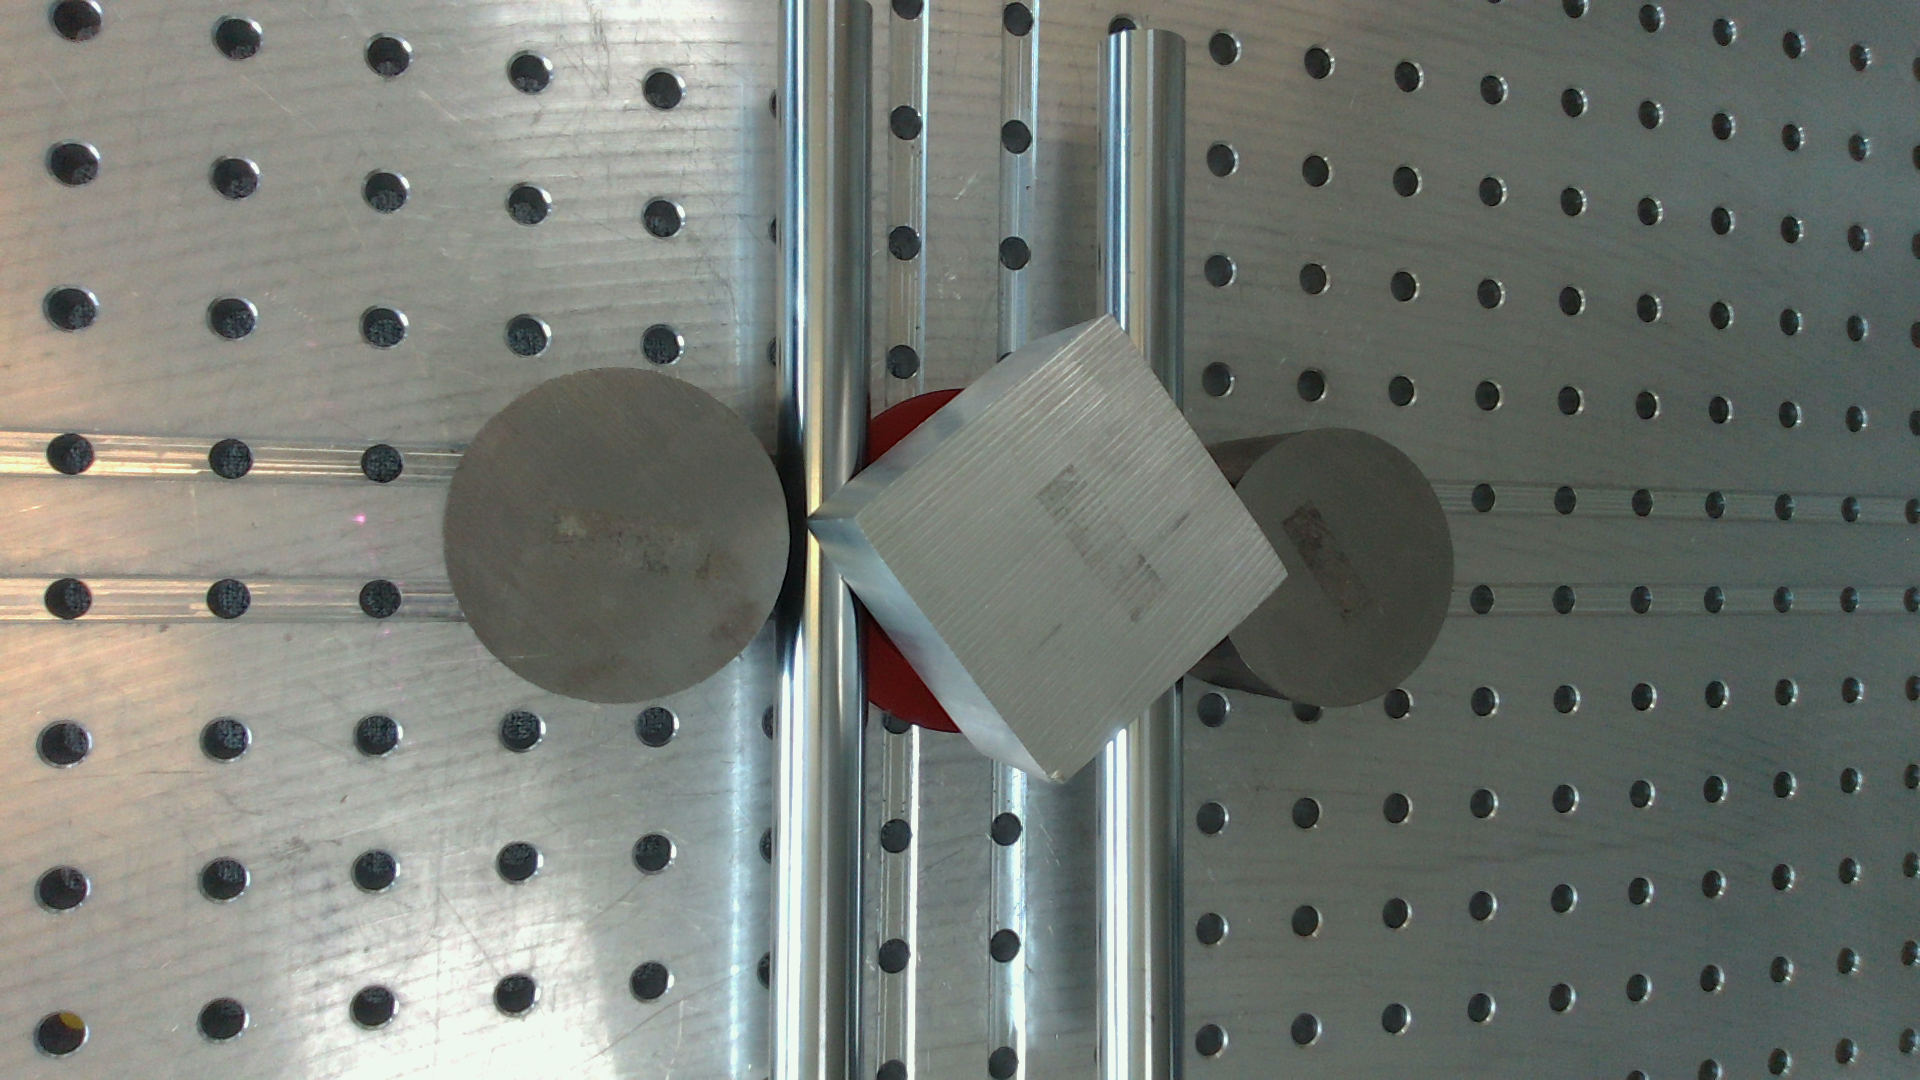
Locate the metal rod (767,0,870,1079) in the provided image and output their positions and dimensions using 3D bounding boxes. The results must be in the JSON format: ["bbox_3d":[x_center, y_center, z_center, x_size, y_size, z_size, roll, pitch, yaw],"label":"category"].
[{"bbox_3d":[-0.037,0.011,0.360,0.025,0.025,0.300,0,90,-20],"label":"metal rod"}]

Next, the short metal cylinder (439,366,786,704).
[{"bbox_3d":[-0.089,-0.001,0.350,0.080,0.050,0.080,0,90,-20],"label":"short metal cylinder"}]

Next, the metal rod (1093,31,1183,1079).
[{"bbox_3d":[0.051,0.009,0.392,0.025,0.025,0.300,0,90,-20],"label":"metal rod"}]

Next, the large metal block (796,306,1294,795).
[{"bbox_3d":[0.020,0.002,0.340,0.080,0.050,0.080,-40,103,-15],"label":"large metal block"}]

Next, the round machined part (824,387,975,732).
[{"bbox_3d":[0.002,0.006,0.388,0.098,0.042,0.098,0,90,-20],"label":"round machined part"}]

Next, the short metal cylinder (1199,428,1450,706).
[{"bbox_3d":[0.100,0.008,0.418,0.080,0.050,0.080,0,90,-20],"label":"short metal cylinder"}]
